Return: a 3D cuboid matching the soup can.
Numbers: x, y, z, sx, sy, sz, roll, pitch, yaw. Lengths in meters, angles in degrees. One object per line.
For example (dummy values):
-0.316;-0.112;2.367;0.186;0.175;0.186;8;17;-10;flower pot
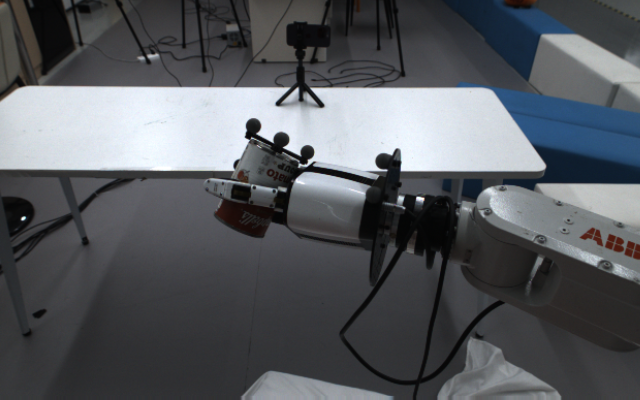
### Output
-0.075;-0.013;0.583;0.067;0.101;0.067;26;6;-3;soup can
